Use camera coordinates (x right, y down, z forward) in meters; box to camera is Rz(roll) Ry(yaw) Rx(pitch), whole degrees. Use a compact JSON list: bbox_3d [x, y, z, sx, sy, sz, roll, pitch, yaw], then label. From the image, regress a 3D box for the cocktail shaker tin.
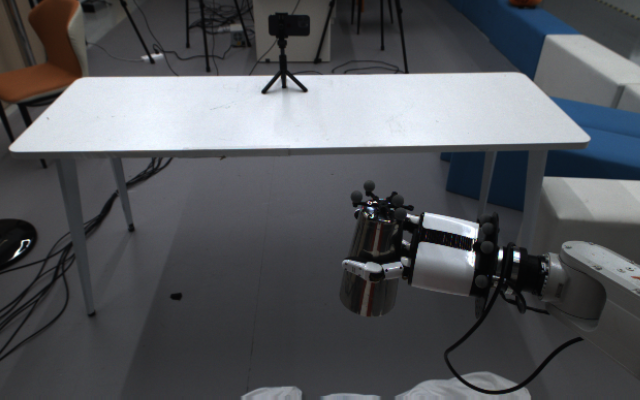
[{"bbox_3d":[0.085,0.085,0.747,0.093,0.170,0.093,4,32,-2],"label":"cocktail shaker tin"}]
